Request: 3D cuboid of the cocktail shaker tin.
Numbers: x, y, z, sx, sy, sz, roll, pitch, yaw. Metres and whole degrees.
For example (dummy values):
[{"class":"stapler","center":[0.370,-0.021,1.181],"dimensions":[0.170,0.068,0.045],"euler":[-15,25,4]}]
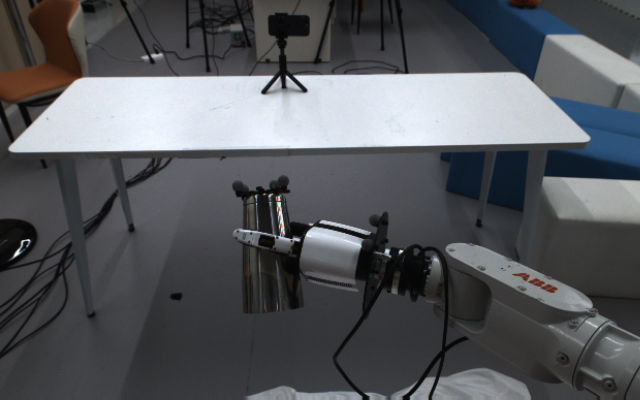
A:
[{"class":"cocktail shaker tin","center":[-0.078,0.080,0.733],"dimensions":[0.093,0.170,0.093],"euler":[-6,-7,-1]}]
